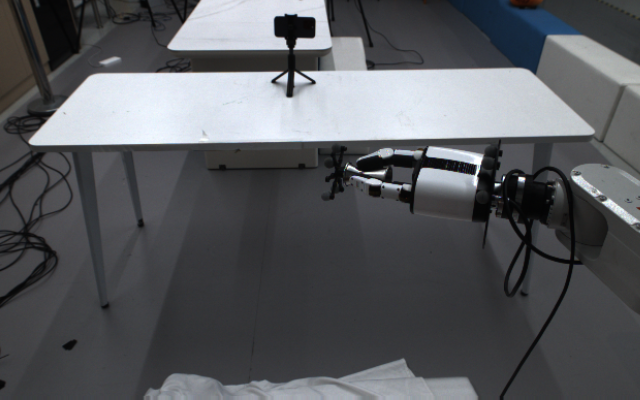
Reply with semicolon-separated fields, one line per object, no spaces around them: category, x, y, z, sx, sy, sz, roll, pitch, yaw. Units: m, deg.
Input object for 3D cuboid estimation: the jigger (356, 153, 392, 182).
jigger;0.080;-0.039;0.756;0.071;0.043;0.043;10;35;22
